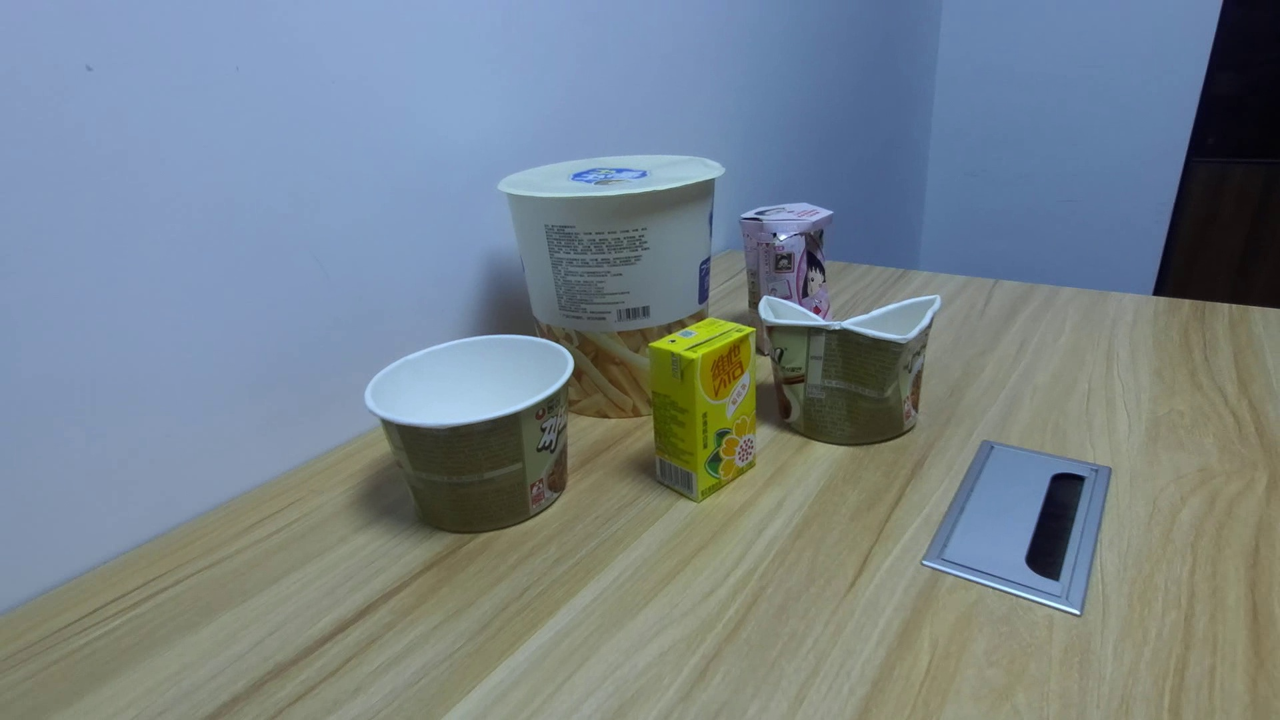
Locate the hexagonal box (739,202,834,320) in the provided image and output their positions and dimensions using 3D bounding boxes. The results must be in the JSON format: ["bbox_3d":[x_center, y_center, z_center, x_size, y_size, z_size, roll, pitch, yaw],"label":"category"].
[{"bbox_3d":[0.143,-0.080,0.701,0.091,0.134,0.090,-9,22,-9],"label":"hexagonal box"}]

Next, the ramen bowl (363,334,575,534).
[{"bbox_3d":[-0.112,0.051,0.501,0.140,0.095,0.140,-3,24,2],"label":"ramen bowl"}]

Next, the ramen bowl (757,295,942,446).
[{"bbox_3d":[0.160,-0.001,0.564,0.128,0.093,0.112,10,28,29],"label":"ramen bowl"}]

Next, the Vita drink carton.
[{"bbox_3d":[0.045,0.033,0.490,0.067,0.109,0.043,-24,30,-39],"label":"Vita drink carton"}]

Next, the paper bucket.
[{"bbox_3d":[-0.016,-0.066,0.625,0.198,0.195,0.198,-4,23,2],"label":"paper bucket"}]
